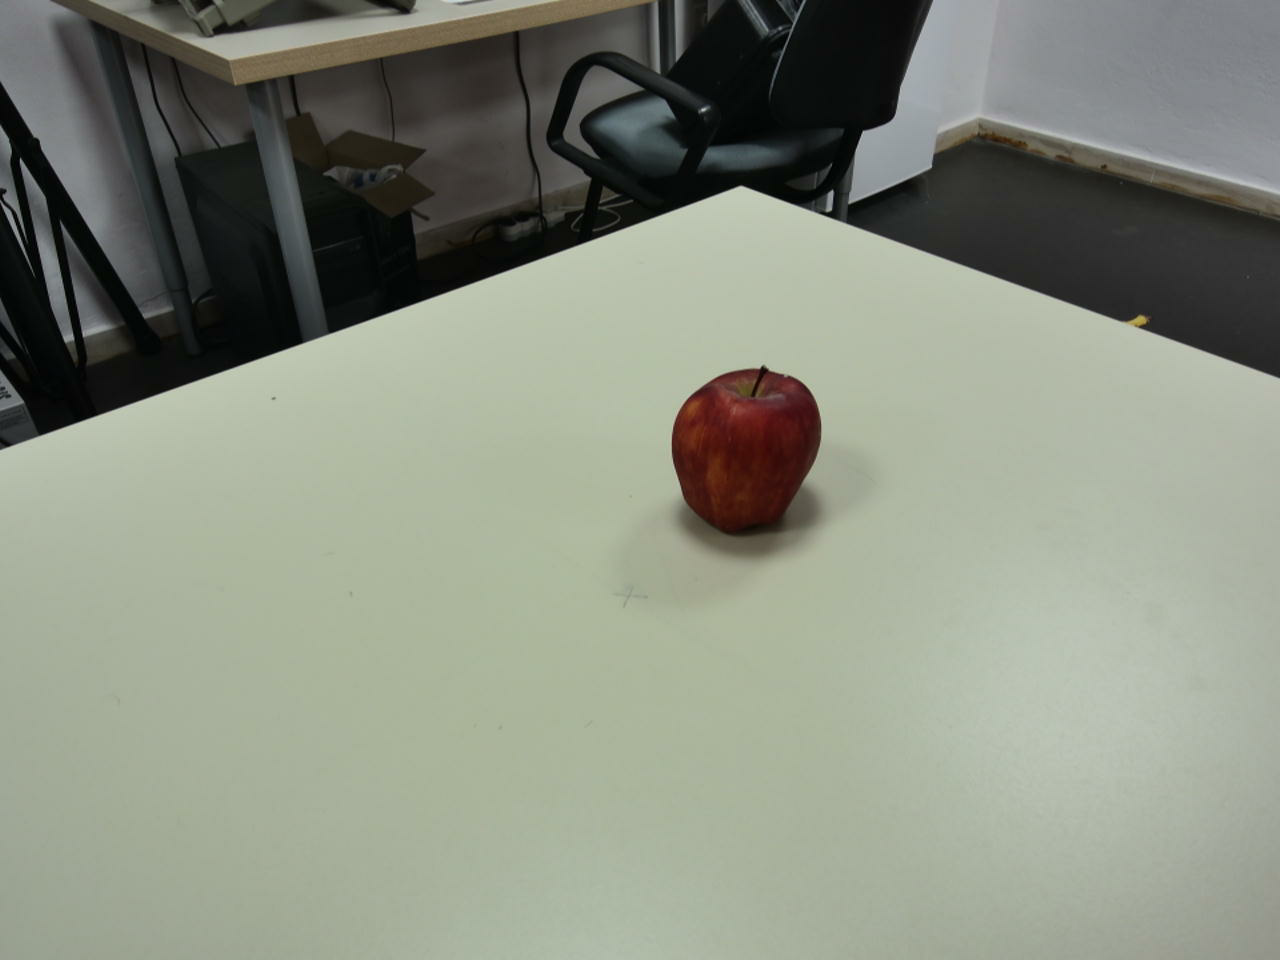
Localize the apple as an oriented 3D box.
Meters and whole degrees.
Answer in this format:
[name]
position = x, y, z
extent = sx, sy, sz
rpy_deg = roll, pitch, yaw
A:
[apple]
position = 0.058, -0.022, 0.536
extent = 0.083, 0.090, 0.083
rpy_deg = -1, 36, 1
